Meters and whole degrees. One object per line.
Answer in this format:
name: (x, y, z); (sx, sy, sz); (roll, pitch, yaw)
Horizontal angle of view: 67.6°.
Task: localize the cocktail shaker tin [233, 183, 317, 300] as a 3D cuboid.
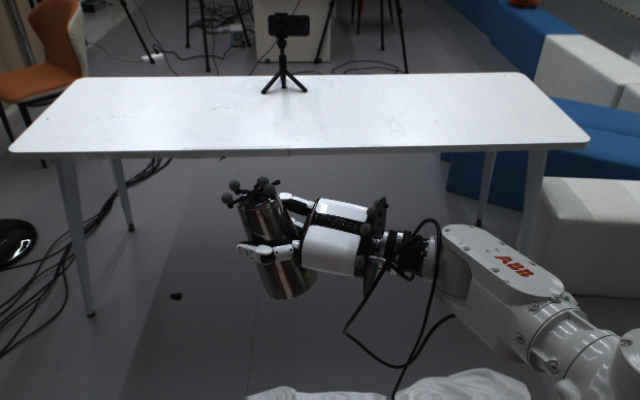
cocktail shaker tin: (-0.073, 0.066, 0.779); (0.093, 0.170, 0.093); (-15, 29, 8)
